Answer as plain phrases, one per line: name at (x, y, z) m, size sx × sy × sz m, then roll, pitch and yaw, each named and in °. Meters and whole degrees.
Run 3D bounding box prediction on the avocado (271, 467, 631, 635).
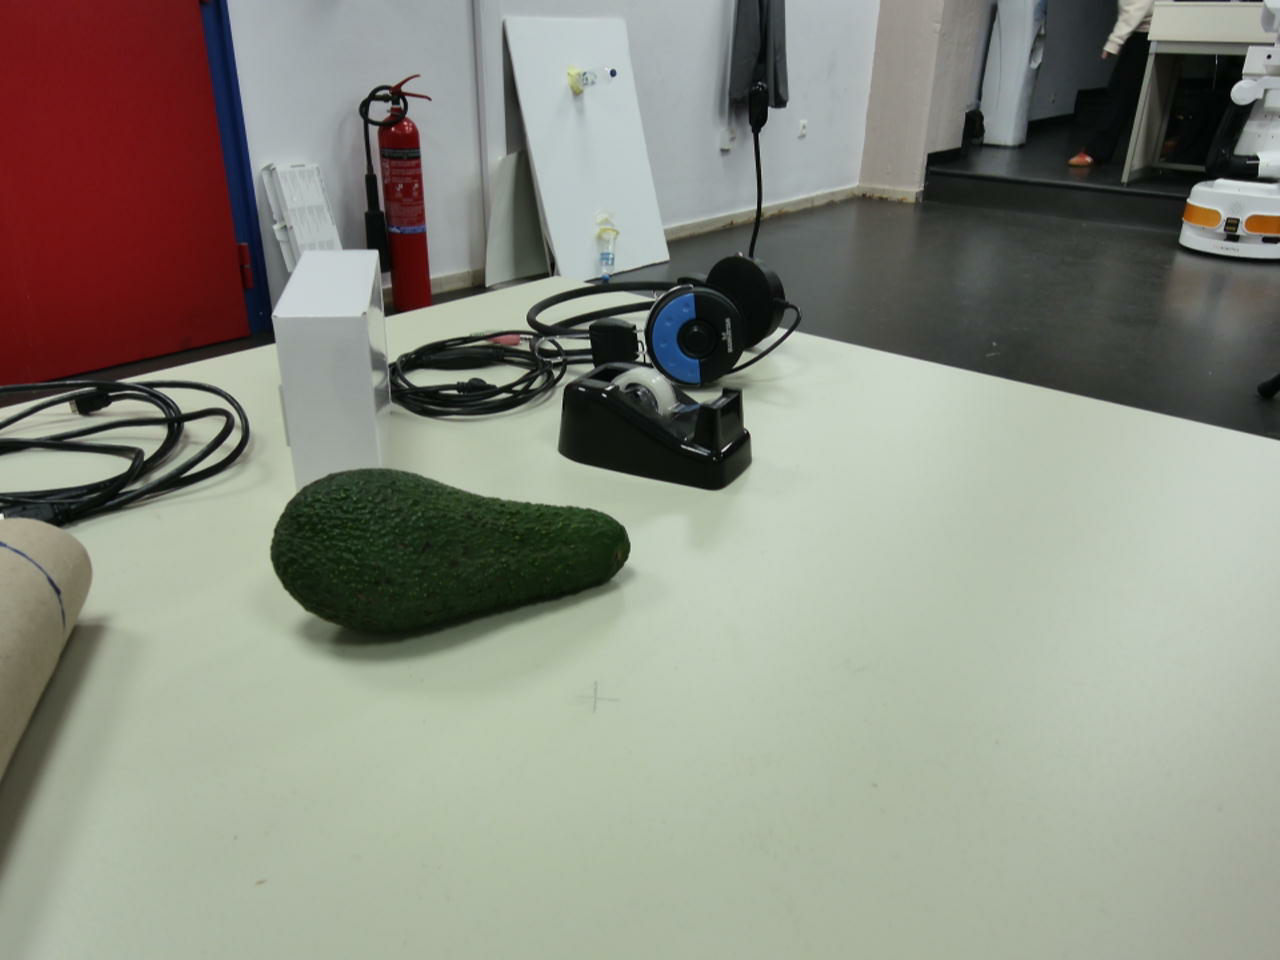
avocado at (-0.072, 0.020, 0.395) m, size 0.141 × 0.067 × 0.063 m, roll -16°, pitch 27°, yaw -33°
